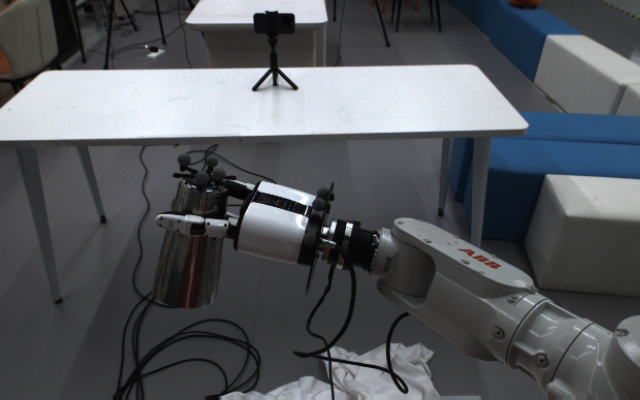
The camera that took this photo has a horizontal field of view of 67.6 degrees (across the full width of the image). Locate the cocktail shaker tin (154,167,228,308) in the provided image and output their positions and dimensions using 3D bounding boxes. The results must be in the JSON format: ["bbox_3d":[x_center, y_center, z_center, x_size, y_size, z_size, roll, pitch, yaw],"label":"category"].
[{"bbox_3d":[-0.174,0.053,0.678,0.093,0.170,0.093,14,18,-5],"label":"cocktail shaker tin"}]
